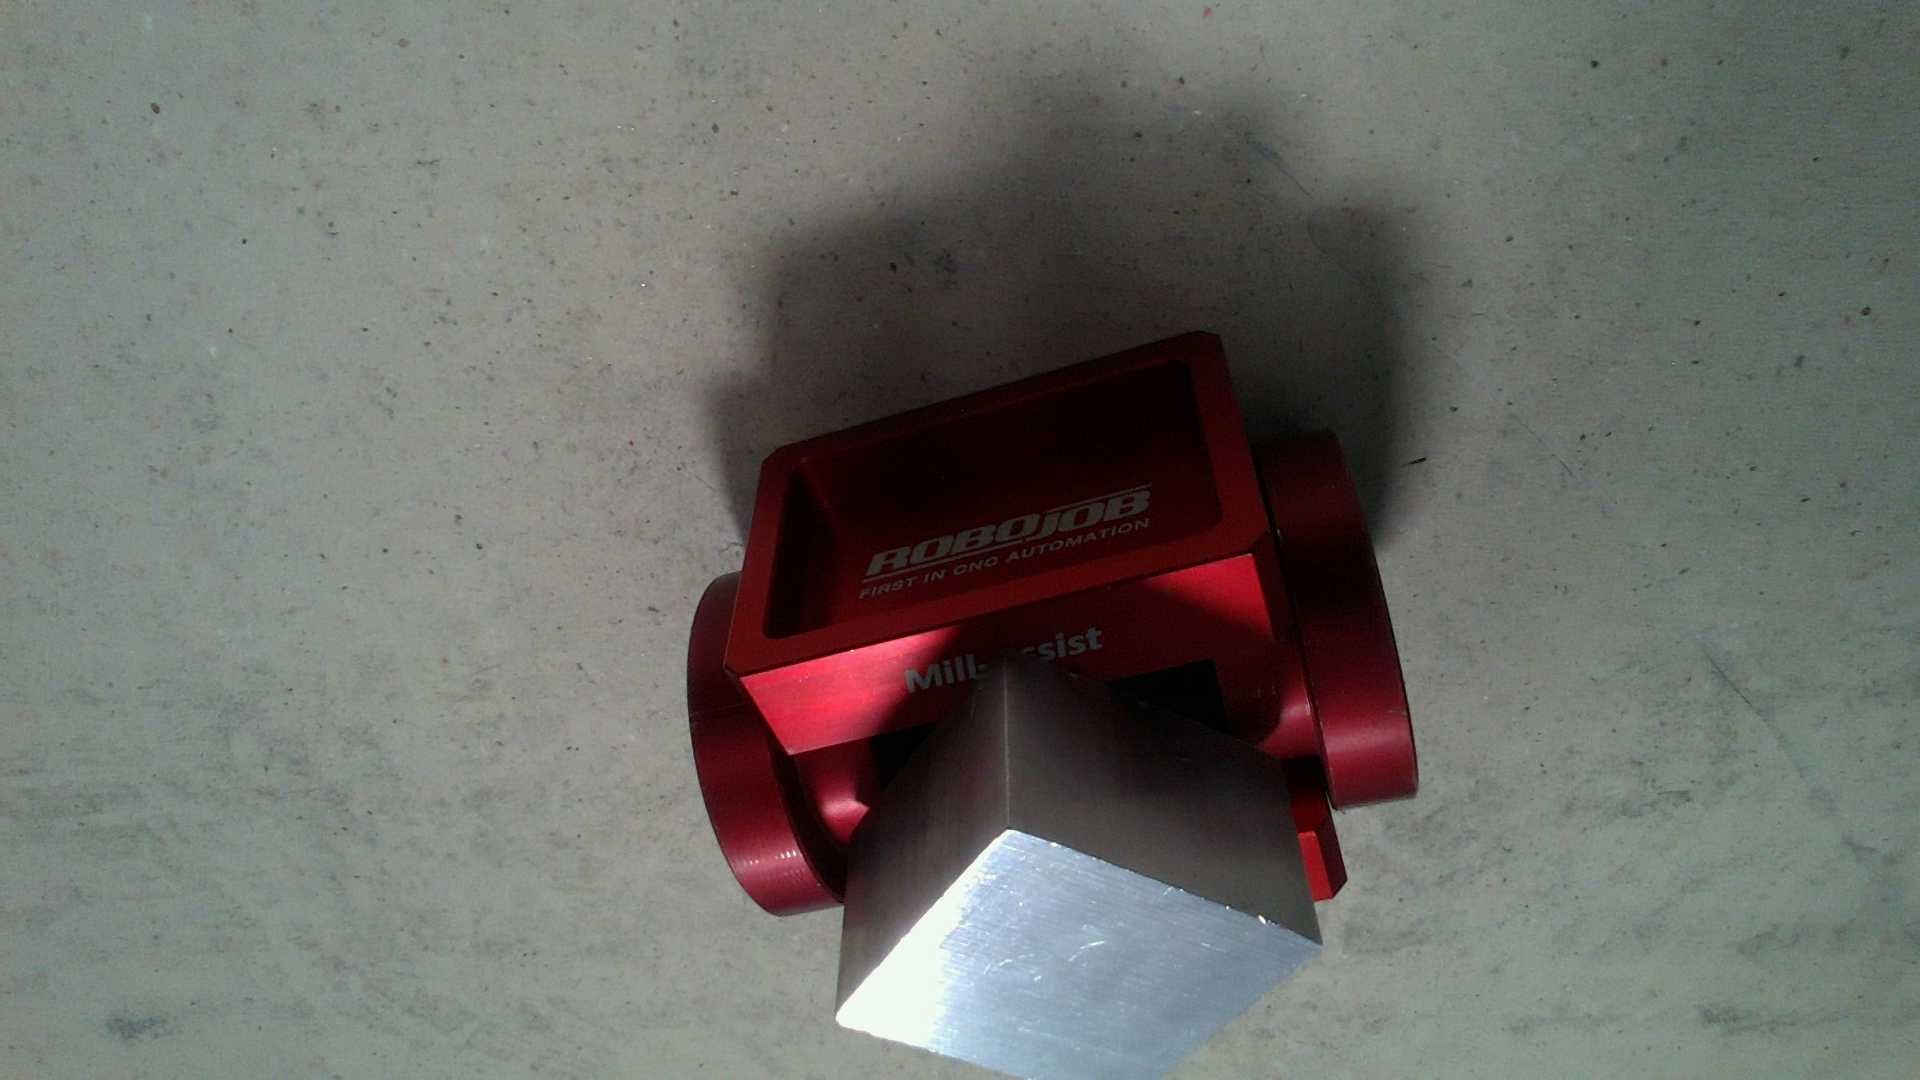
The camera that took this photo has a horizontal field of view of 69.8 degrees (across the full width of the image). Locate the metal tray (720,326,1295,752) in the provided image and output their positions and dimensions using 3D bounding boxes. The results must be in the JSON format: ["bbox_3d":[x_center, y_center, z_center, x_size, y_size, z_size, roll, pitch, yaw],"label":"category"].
[{"bbox_3d":[0.010,-0.002,0.348,0.130,0.090,0.030,-14,129,12],"label":"metal tray"}]

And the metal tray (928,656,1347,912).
[{"bbox_3d":[0.039,0.072,0.407,0.130,0.090,0.030,-14,129,11],"label":"metal tray"}]

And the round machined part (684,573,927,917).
[{"bbox_3d":[-0.038,0.053,0.387,0.042,0.098,0.098,-12,129,10],"label":"round machined part"}]

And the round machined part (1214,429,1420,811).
[{"bbox_3d":[0.087,0.023,0.362,0.042,0.098,0.098,-12,129,10],"label":"round machined part"}]

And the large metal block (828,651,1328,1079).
[{"bbox_3d":[0.024,0.082,0.323,0.080,0.050,0.080,23,126,-19],"label":"large metal block"}]
